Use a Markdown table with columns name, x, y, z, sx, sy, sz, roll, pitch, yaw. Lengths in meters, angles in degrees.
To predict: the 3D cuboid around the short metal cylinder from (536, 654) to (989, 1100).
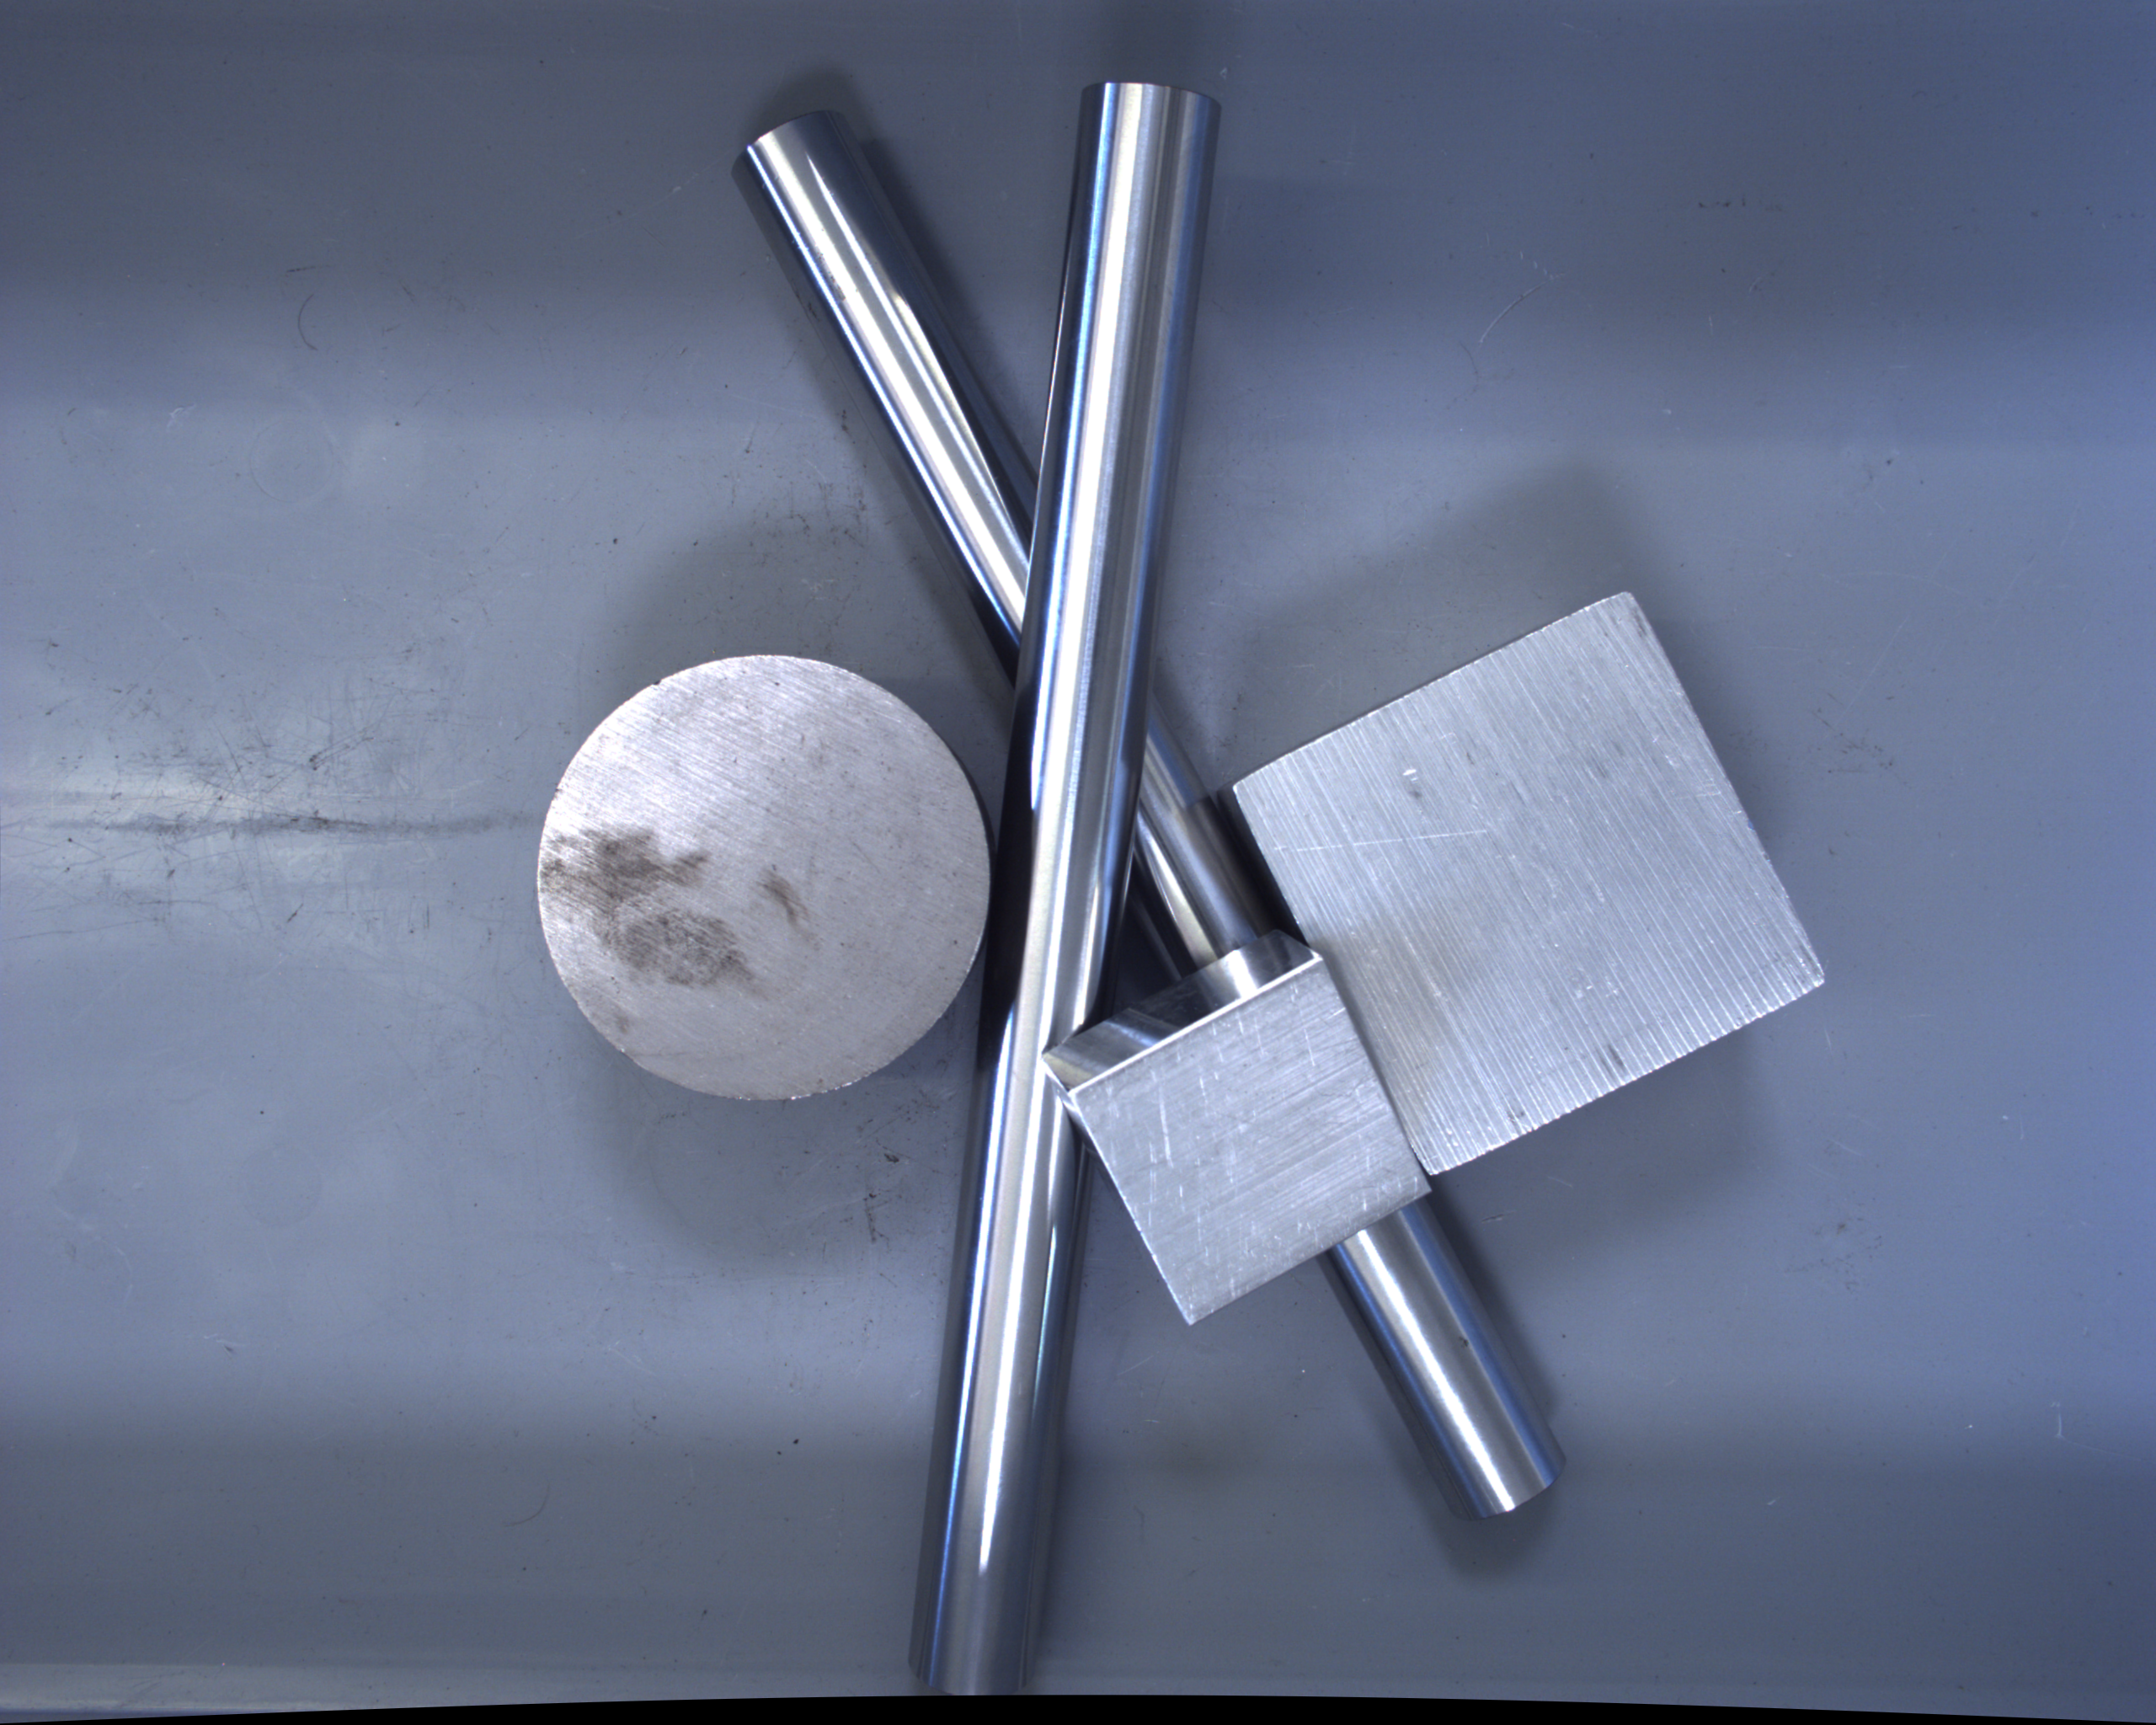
| name | x | y | z | sx | sy | sz | roll | pitch | yaw |
| --- | --- | --- | --- | --- | --- | --- | --- | --- | --- |
| short metal cylinder | -0.057 | 0.002 | 0.397 | 0.081 | 0.050 | 0.079 | 0 | 90 | -1 |

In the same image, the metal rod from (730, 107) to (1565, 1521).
| name | x | y | z | sx | sy | sz | roll | pitch | yaw |
| --- | --- | --- | --- | --- | --- | --- | --- | --- | --- |
| metal rod | 0.014 | -0.009 | 0.410 | 0.025 | 0.025 | 0.299 | -28 | 91 | 0 |

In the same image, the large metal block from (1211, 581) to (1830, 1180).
| name | x | y | z | sx | sy | sz | roll | pitch | yaw |
| --- | --- | --- | --- | --- | --- | --- | --- | --- | --- |
| large metal block | 0.080 | 0.003 | 0.397 | 0.080 | 0.050 | 0.080 | -27 | 90 | 0 |

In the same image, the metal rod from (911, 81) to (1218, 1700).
| name | x | y | z | sx | sy | sz | roll | pitch | yaw |
| --- | --- | --- | --- | --- | --- | --- | --- | --- | --- |
| metal rod | -0.004 | 0.011 | 0.390 | 0.025 | 0.025 | 0.298 | 6 | 98 | 0 |

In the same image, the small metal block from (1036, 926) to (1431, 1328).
| name | x | y | z | sx | sy | sz | roll | pitch | yaw |
| --- | --- | --- | --- | --- | --- | --- | --- | --- | --- |
| small metal block | 0.028 | 0.047 | 0.378 | 0.050 | 0.025 | 0.050 | -28 | 105 | -8 |
